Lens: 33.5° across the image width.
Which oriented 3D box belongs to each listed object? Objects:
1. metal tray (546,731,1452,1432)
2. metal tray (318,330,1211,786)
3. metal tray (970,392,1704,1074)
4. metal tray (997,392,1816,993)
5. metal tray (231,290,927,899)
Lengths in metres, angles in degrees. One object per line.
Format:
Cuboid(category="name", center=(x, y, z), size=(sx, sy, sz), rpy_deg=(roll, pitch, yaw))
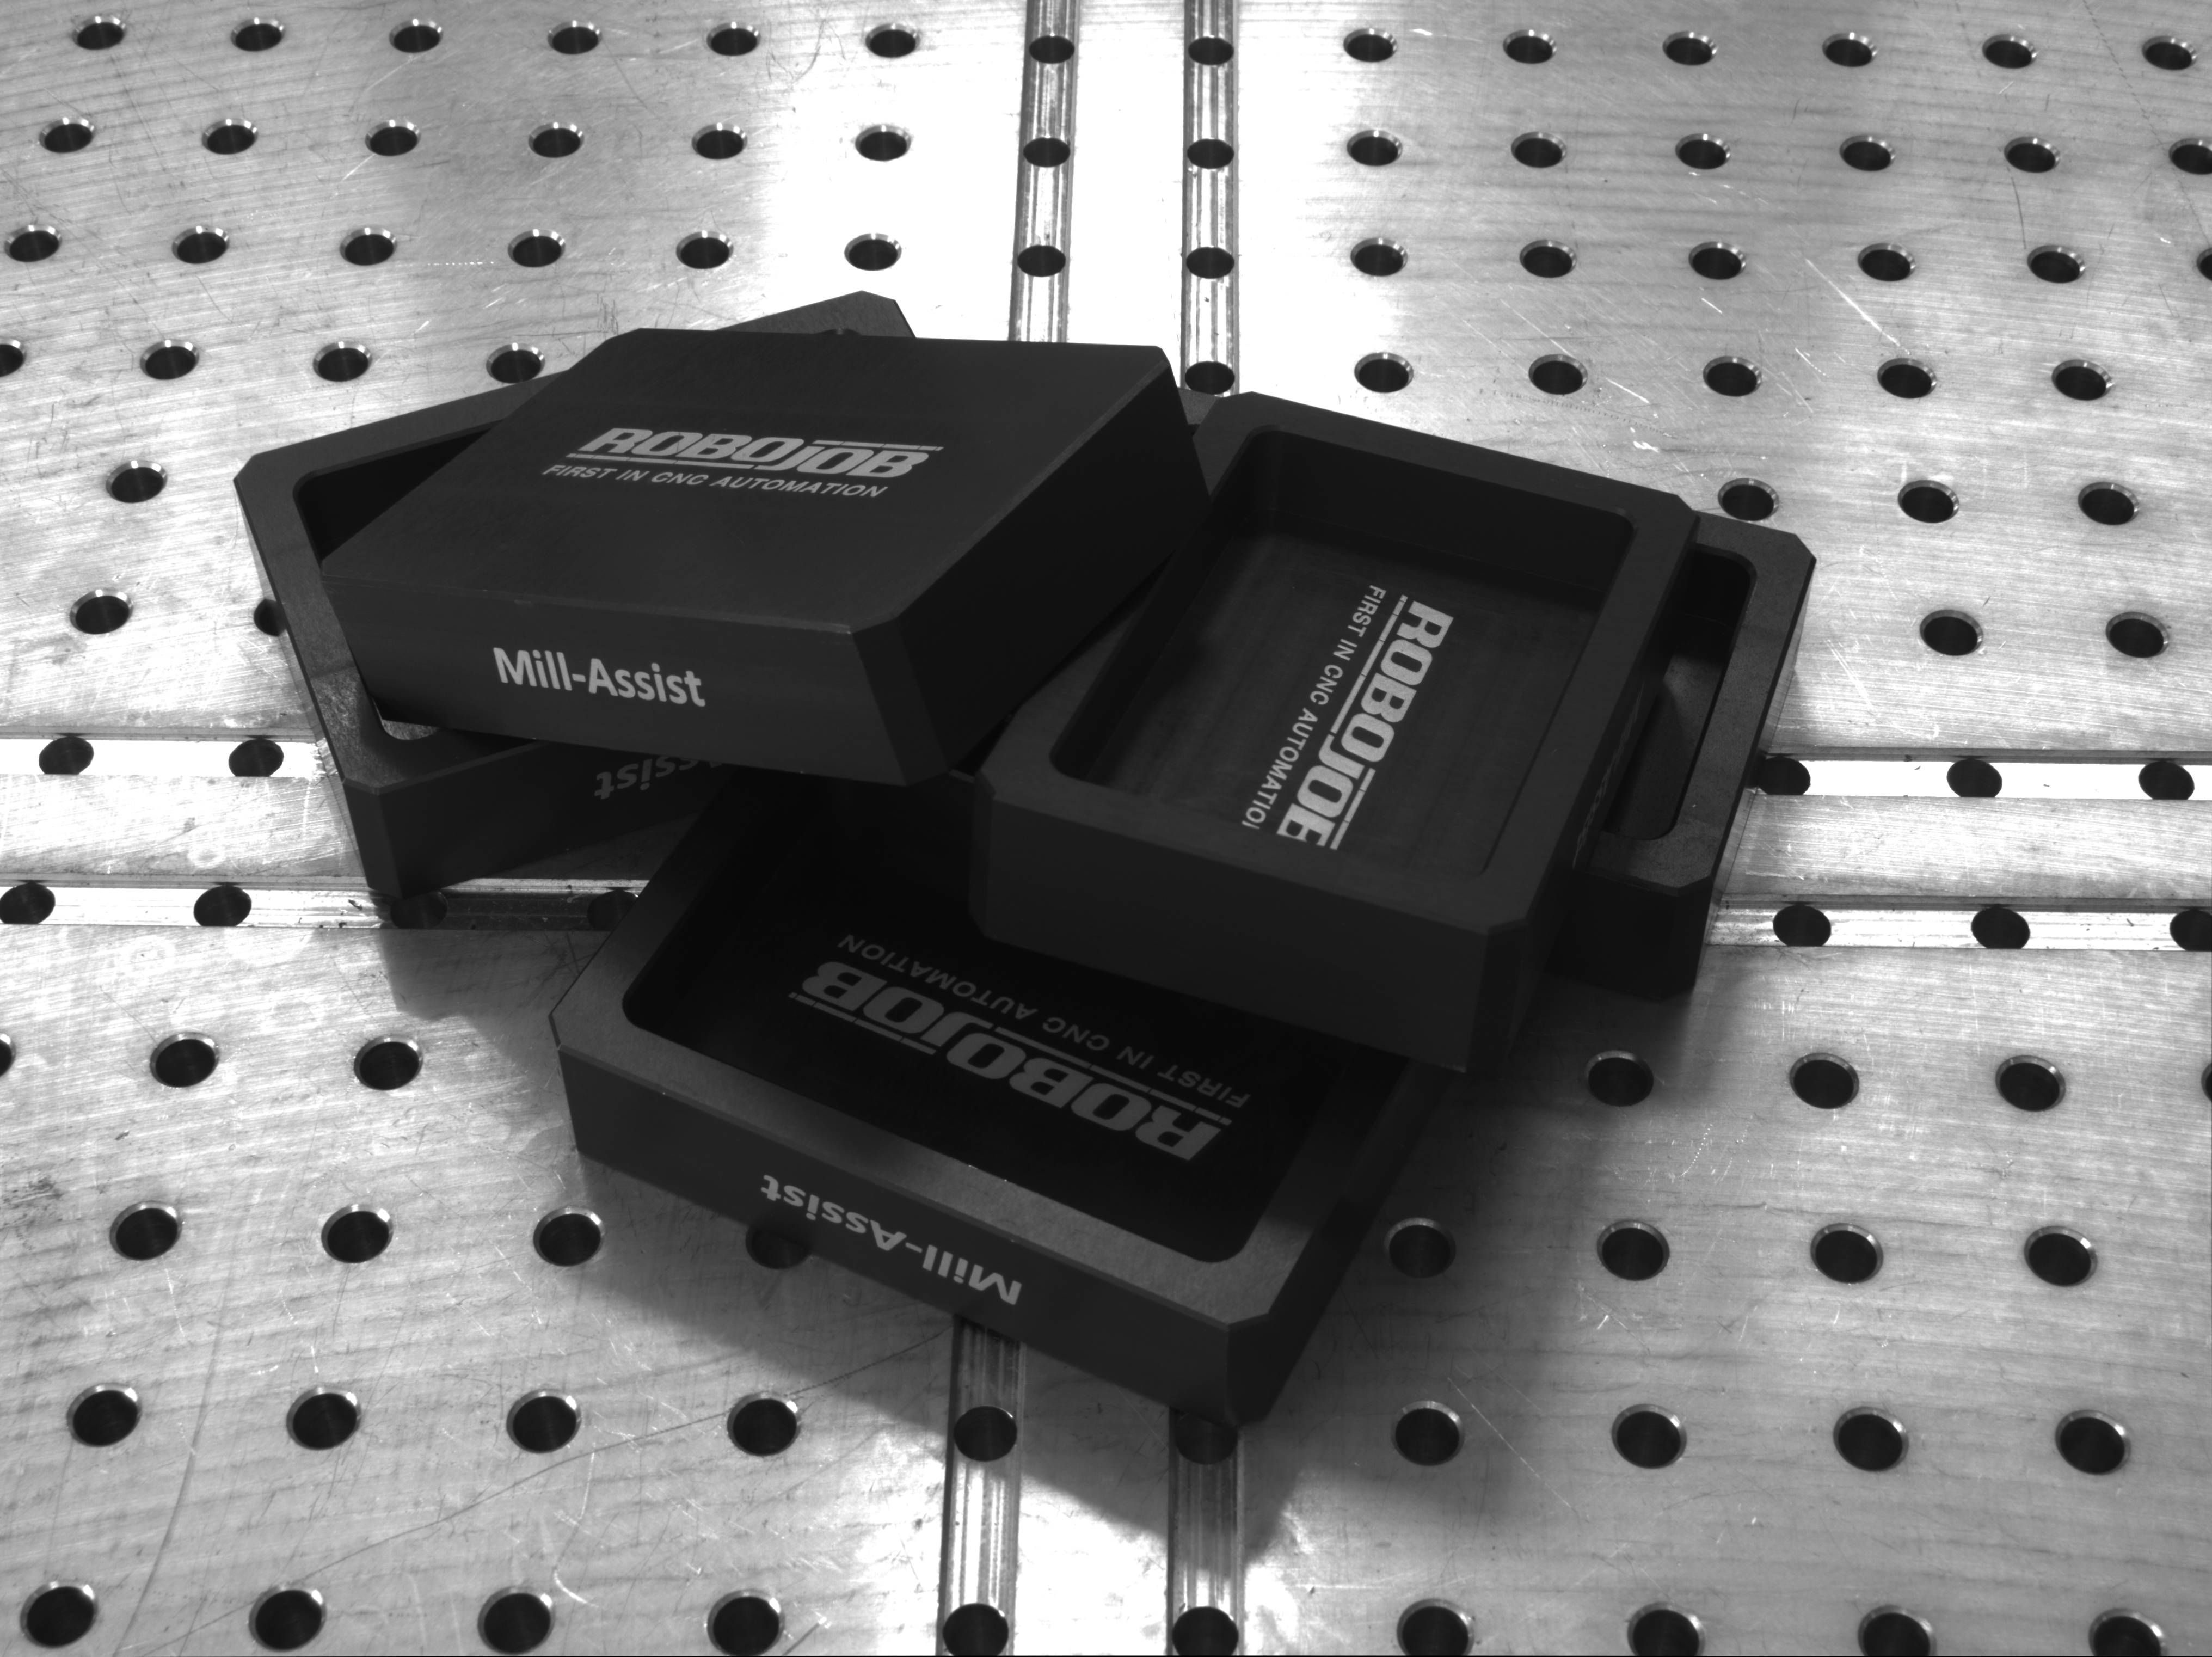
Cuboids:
Cuboid(category="metal tray", center=(-0.015, 0.035, 0.613), size=(0.130, 0.030, 0.090), rpy_deg=(21, 53, 17))
Cuboid(category="metal tray", center=(-0.059, -0.050, 0.631), size=(0.130, 0.030, 0.090), rpy_deg=(8, 39, 36))
Cuboid(category="metal tray", center=(0.042, -0.020, 0.619), size=(0.090, 0.030, 0.130), rpy_deg=(15, 40, 13))
Cuboid(category="metal tray", center=(0.054, -0.027, 0.664), size=(0.130, 0.030, 0.090), rpy_deg=(14, 51, 13))
Cuboid(category="metal tray", center=(-0.086, -0.046, 0.681), size=(0.130, 0.030, 0.090), rpy_deg=(-18, 52, -14))
